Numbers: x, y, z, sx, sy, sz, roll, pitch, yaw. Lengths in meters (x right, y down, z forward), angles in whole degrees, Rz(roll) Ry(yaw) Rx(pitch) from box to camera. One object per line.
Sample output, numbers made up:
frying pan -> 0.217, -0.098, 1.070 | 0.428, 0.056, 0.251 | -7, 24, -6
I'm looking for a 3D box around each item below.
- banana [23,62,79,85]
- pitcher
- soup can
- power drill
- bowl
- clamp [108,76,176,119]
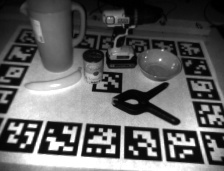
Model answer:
banana -> -0.198, -0.035, 0.729 | 0.199, 0.039, 0.073 | -15, 43, -19
pitcher -> -0.186, -0.188, 0.724 | 0.190, 0.244, 0.132 | -15, 48, -16
soup can -> -0.071, -0.087, 0.740 | 0.068, 0.102, 0.067 | 2, 40, -1
power drill -> 0.054, -0.194, 0.759 | 0.185, 0.188, 0.057 | 0, 49, -5
bowl -> 0.157, -0.088, 0.787 | 0.162, 0.055, 0.161 | 2, 50, -2
clamp -> 0.090, 0.029, 0.685 | 0.203, 0.037, 0.164 | 2, 53, -3
